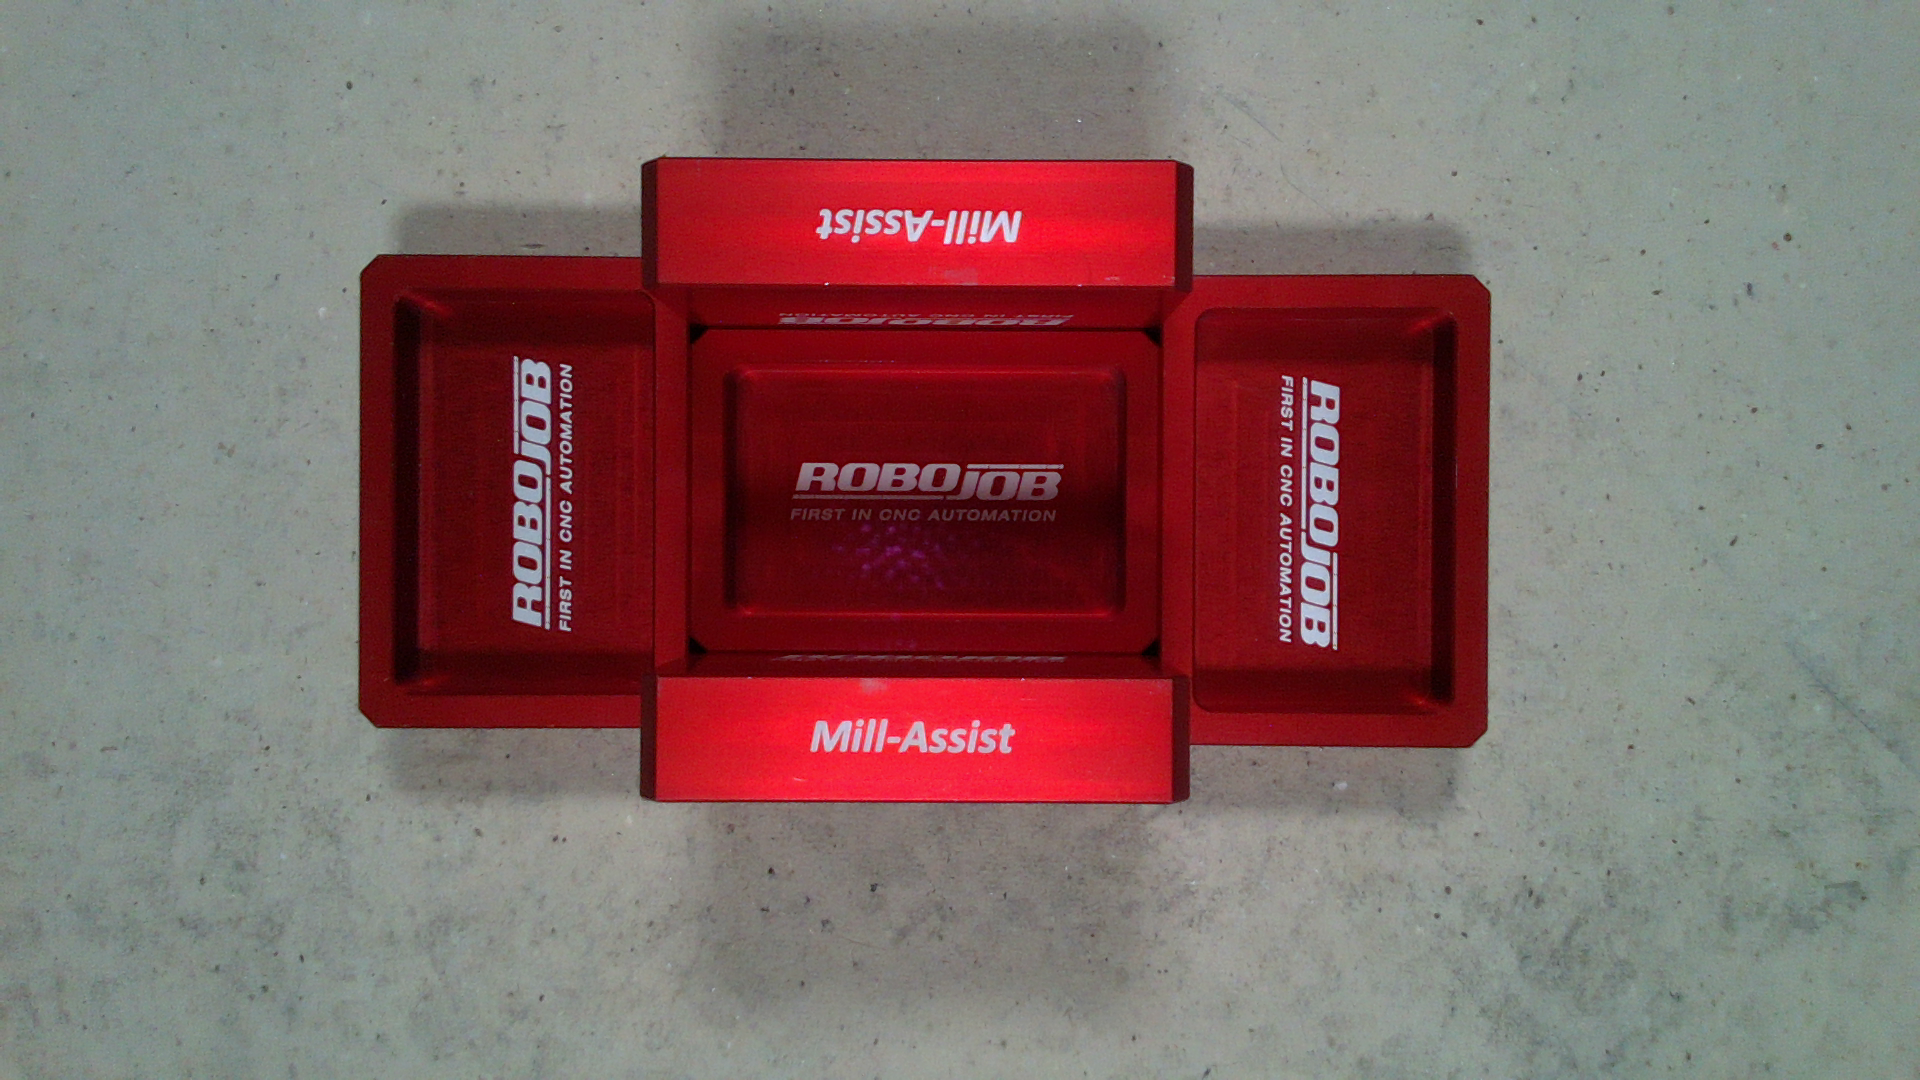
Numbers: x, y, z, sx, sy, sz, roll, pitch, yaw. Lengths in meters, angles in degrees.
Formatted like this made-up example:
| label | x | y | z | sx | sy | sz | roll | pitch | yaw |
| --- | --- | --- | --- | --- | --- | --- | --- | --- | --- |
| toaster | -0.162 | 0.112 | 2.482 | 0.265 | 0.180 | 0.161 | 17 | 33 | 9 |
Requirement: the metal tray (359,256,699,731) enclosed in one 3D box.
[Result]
| label | x | y | z | sx | sy | sz | roll | pitch | yaw |
| --- | --- | --- | --- | --- | --- | --- | --- | --- | --- |
| metal tray | -0.120 | -0.013 | 0.392 | 0.090 | 0.030 | 0.130 | 0 | 90 | 0 |

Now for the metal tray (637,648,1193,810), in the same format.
| label | x | y | z | sx | sy | sz | roll | pitch | yaw |
| --- | --- | --- | --- | --- | --- | --- | --- | --- | --- |
| metal tray | -0.010 | 0.047 | 0.362 | 0.130 | 0.090 | 0.030 | 0 | 90 | 0 |

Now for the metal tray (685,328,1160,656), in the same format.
| label | x | y | z | sx | sy | sz | roll | pitch | yaw |
| --- | --- | --- | --- | --- | --- | --- | --- | --- | --- |
| metal tray | -0.010 | -0.013 | 0.393 | 0.130 | 0.030 | 0.090 | 1 | 90 | 0 |

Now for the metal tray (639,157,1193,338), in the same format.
| label | x | y | z | sx | sy | sz | roll | pitch | yaw |
| --- | --- | --- | --- | --- | --- | --- | --- | --- | --- |
| metal tray | -0.010 | -0.074 | 0.363 | 0.130 | 0.090 | 0.030 | 0 | 90 | 0 |

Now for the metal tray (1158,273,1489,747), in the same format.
| label | x | y | z | sx | sy | sz | roll | pitch | yaw |
| --- | --- | --- | --- | --- | --- | --- | --- | --- | --- |
| metal tray | 0.100 | -0.008 | 0.393 | 0.090 | 0.030 | 0.130 | 0 | 90 | 0 |
